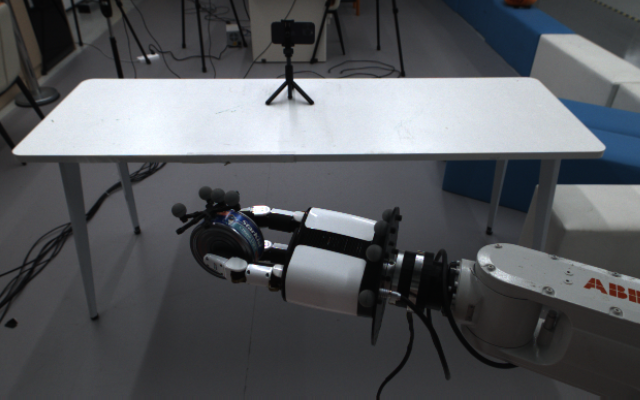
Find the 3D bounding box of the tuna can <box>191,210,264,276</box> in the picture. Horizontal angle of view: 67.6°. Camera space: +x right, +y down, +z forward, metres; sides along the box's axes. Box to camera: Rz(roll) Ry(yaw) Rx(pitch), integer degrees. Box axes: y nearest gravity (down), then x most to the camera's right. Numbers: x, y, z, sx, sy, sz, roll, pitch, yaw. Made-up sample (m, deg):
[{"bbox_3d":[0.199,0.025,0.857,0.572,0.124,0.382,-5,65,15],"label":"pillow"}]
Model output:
[{"bbox_3d":[-0.109,0.061,0.583,0.085,0.085,0.034,11,34,13],"label":"tuna can"}]
